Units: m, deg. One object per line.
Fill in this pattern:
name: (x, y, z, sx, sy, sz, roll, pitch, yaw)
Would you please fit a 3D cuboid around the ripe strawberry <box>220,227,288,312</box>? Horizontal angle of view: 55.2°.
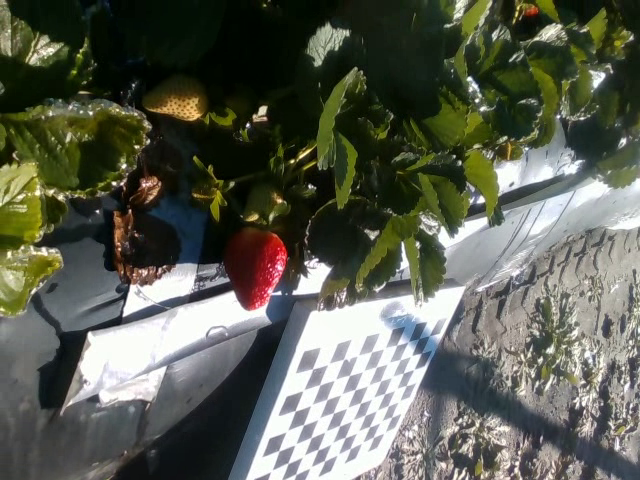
ripe strawberry: (-0.048, 0.029, 0.478, 0.057, 0.065, 0.062, -11, -30, 16)
